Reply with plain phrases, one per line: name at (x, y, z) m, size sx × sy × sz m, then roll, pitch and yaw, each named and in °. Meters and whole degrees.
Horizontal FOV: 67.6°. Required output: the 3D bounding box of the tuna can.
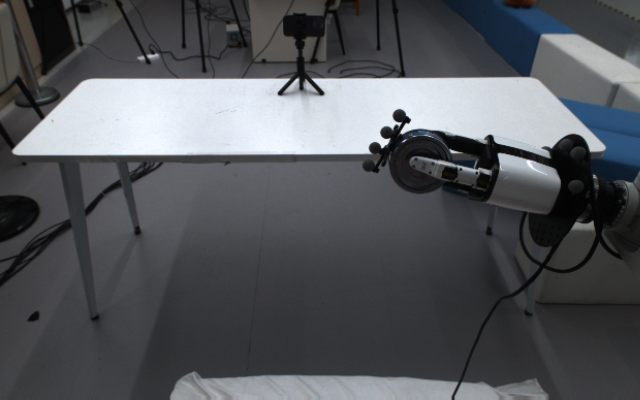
tuna can at (0.140, -0.056, 0.670) m, size 0.085 × 0.085 × 0.034 m, roll 3°, pitch 20°, yaw 1°
